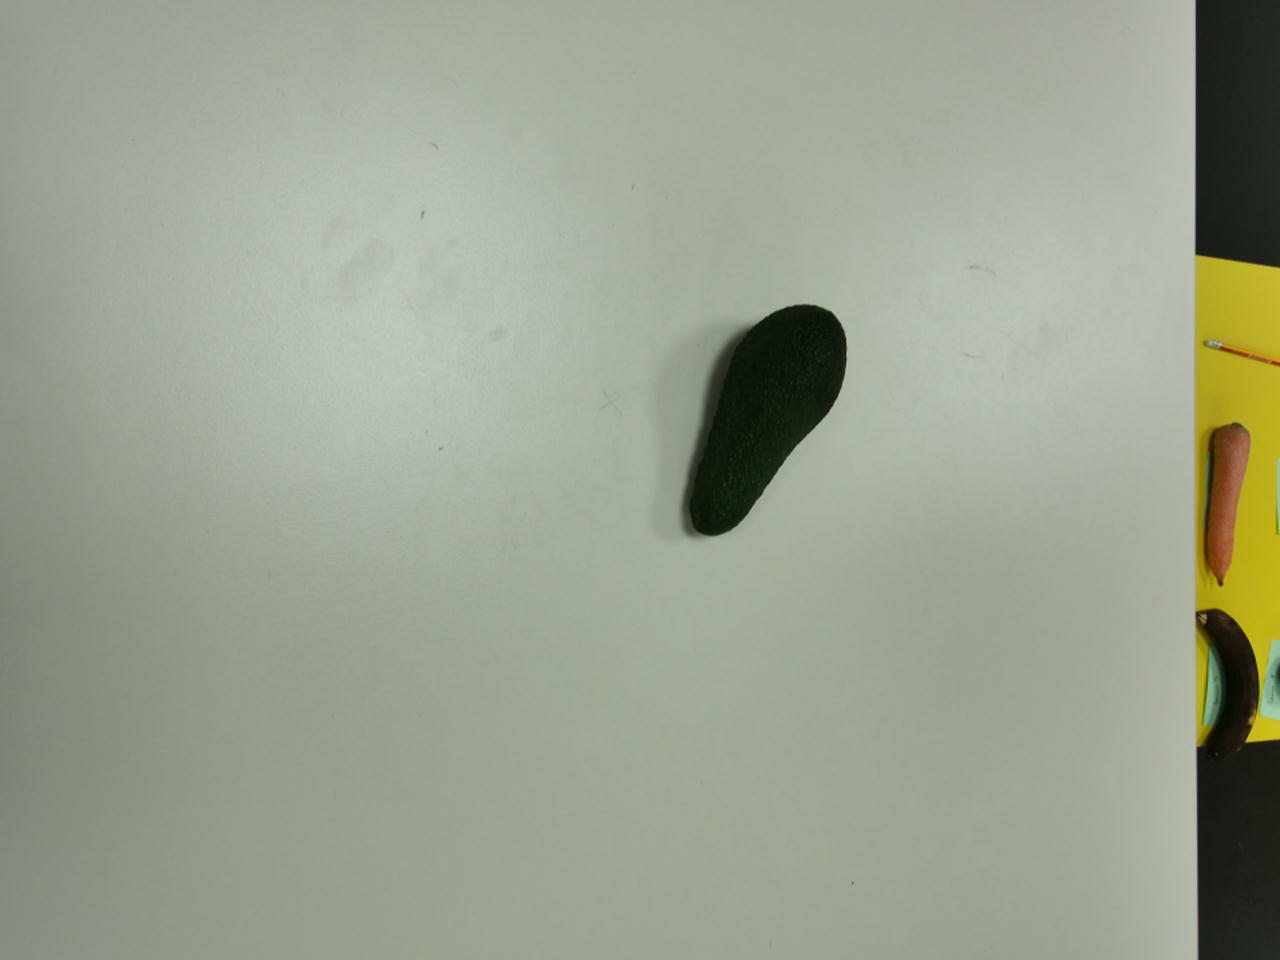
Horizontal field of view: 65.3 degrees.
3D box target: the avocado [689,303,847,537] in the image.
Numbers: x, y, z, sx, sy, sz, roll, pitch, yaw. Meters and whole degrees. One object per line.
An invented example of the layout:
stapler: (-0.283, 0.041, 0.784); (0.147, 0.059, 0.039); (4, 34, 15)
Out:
avocado: (0.075, -0.031, 0.556); (0.063, 0.067, 0.141); (16, 85, -21)
